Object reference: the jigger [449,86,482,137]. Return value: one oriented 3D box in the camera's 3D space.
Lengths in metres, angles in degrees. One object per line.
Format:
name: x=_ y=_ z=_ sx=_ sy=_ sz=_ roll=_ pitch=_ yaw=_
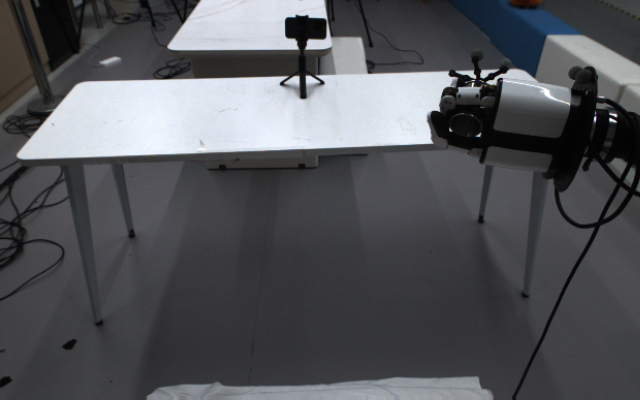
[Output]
jigger: x=0.204 y=-0.128 z=0.652 sx=0.043 sy=0.043 sz=0.071 roll=16 pitch=59 yaw=19
